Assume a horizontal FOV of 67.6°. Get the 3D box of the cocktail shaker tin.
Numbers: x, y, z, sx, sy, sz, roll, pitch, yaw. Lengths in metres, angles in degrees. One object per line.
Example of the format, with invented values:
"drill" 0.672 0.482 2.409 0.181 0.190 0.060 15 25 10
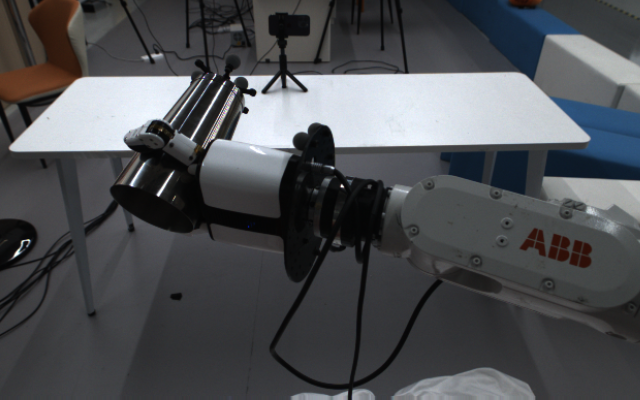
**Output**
"cocktail shaker tin" -0.148 -0.058 0.539 0.093 0.093 0.170 13 61 15
